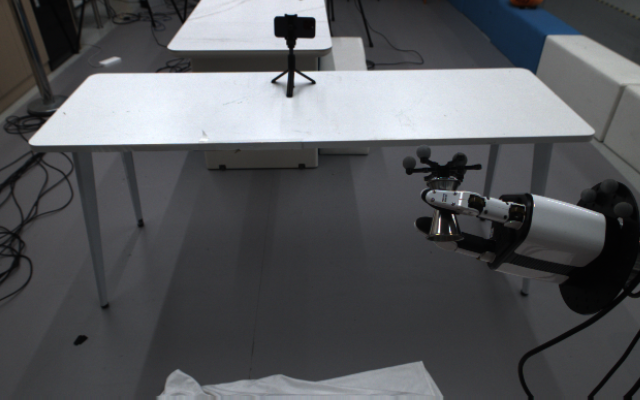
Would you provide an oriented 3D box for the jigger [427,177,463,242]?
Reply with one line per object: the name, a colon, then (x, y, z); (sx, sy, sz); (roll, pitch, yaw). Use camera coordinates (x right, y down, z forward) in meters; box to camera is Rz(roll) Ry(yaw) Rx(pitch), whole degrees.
jigger: (0.145, 0.010, 0.569); (0.043, 0.043, 0.071); (3, 76, 1)
